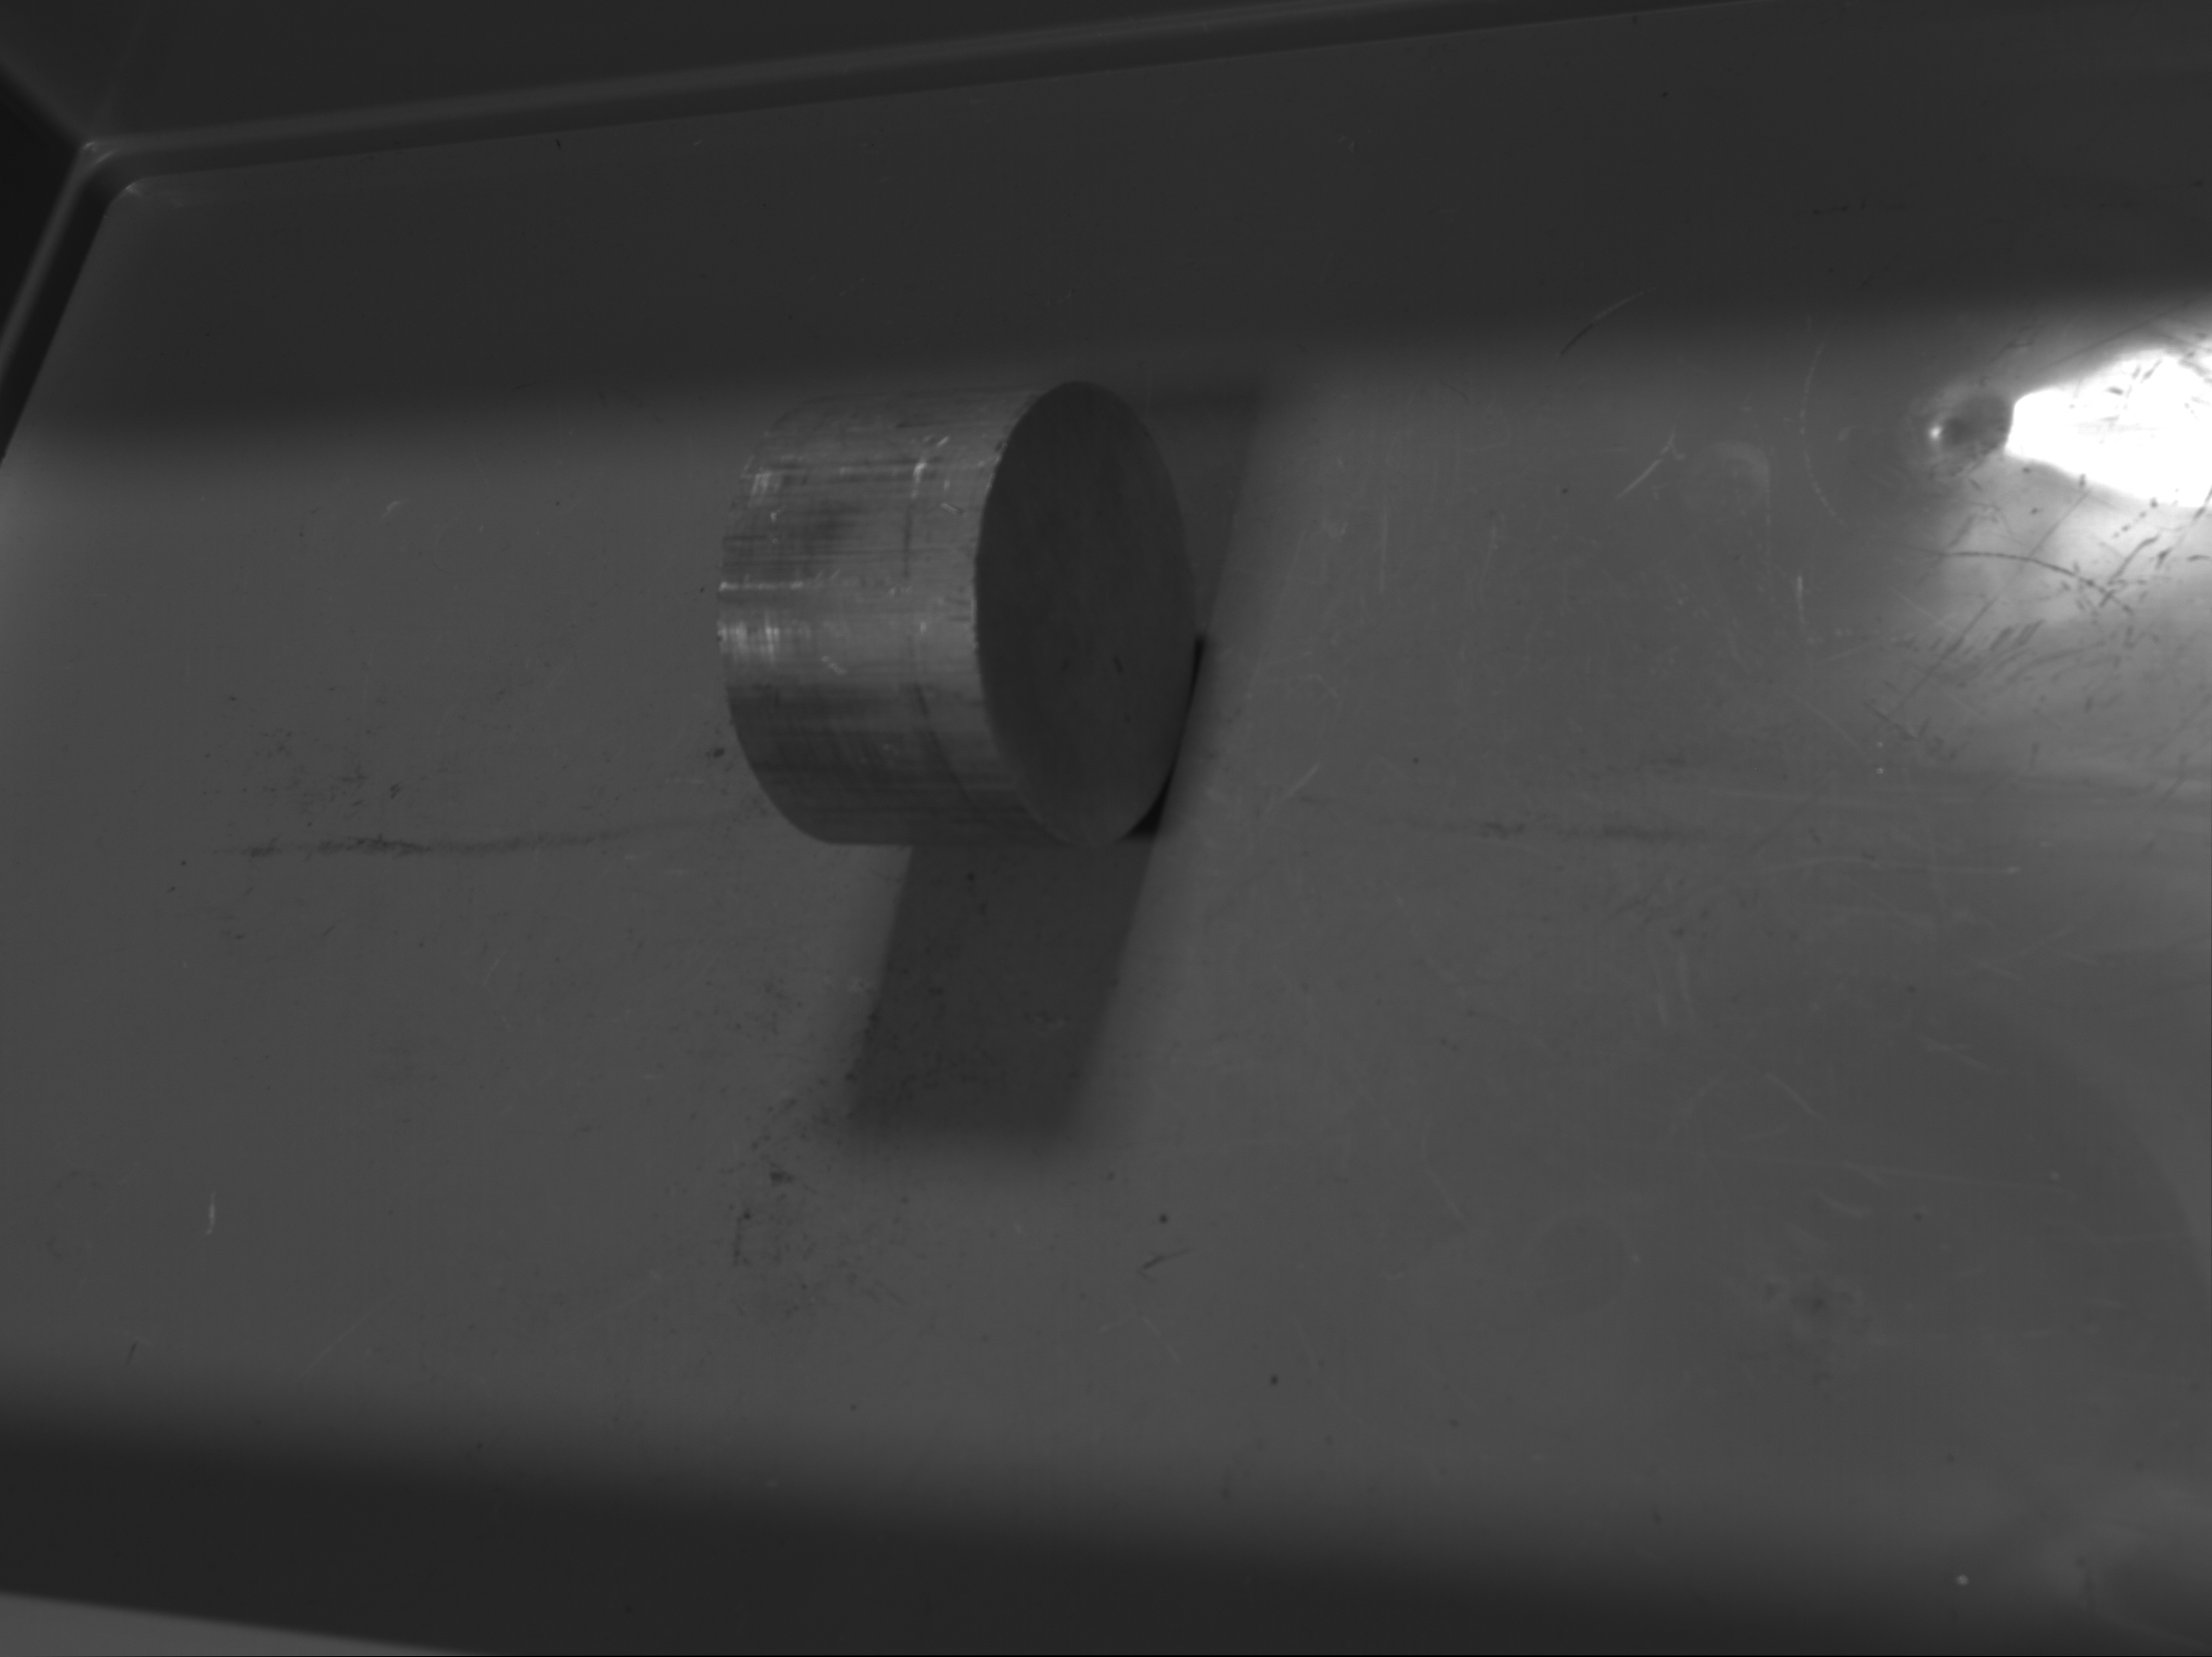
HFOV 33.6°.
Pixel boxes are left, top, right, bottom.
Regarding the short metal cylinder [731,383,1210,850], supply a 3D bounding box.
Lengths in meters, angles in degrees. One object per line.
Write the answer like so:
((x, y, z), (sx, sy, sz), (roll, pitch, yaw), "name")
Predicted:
((-0.022, -0.036, 0.641), (0.050, 0.080, 0.080), (0, 62, 29), "short metal cylinder")
